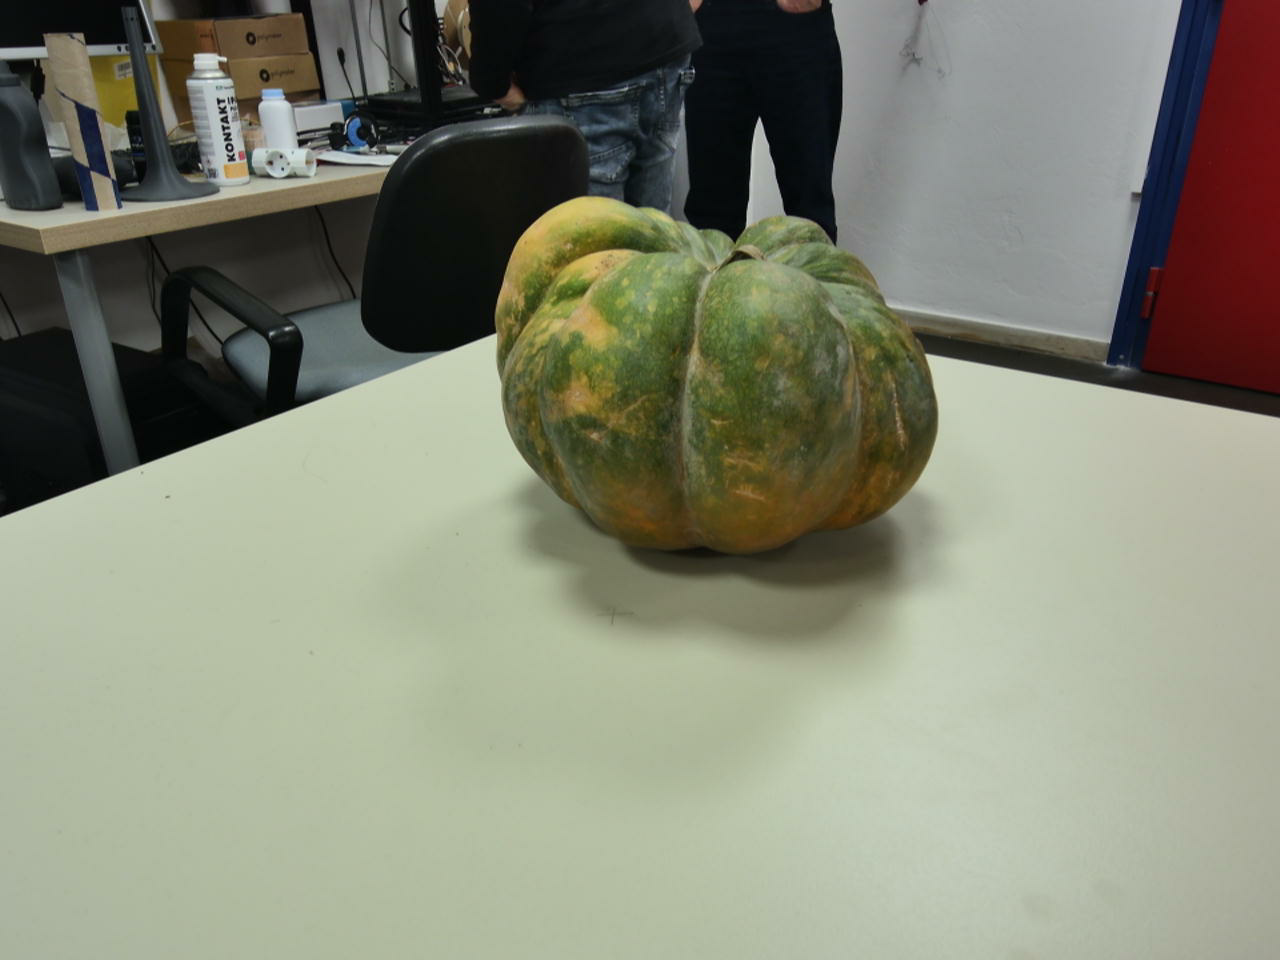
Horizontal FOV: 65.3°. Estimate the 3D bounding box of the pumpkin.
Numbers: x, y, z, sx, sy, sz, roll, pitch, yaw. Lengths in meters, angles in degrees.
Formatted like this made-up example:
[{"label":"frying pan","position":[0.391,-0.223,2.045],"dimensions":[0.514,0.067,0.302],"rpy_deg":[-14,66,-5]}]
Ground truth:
[{"label":"pumpkin","position":[0.041,-0.064,0.558],"dimensions":[0.237,0.173,0.270],"rpy_deg":[-6,25,-15]}]
